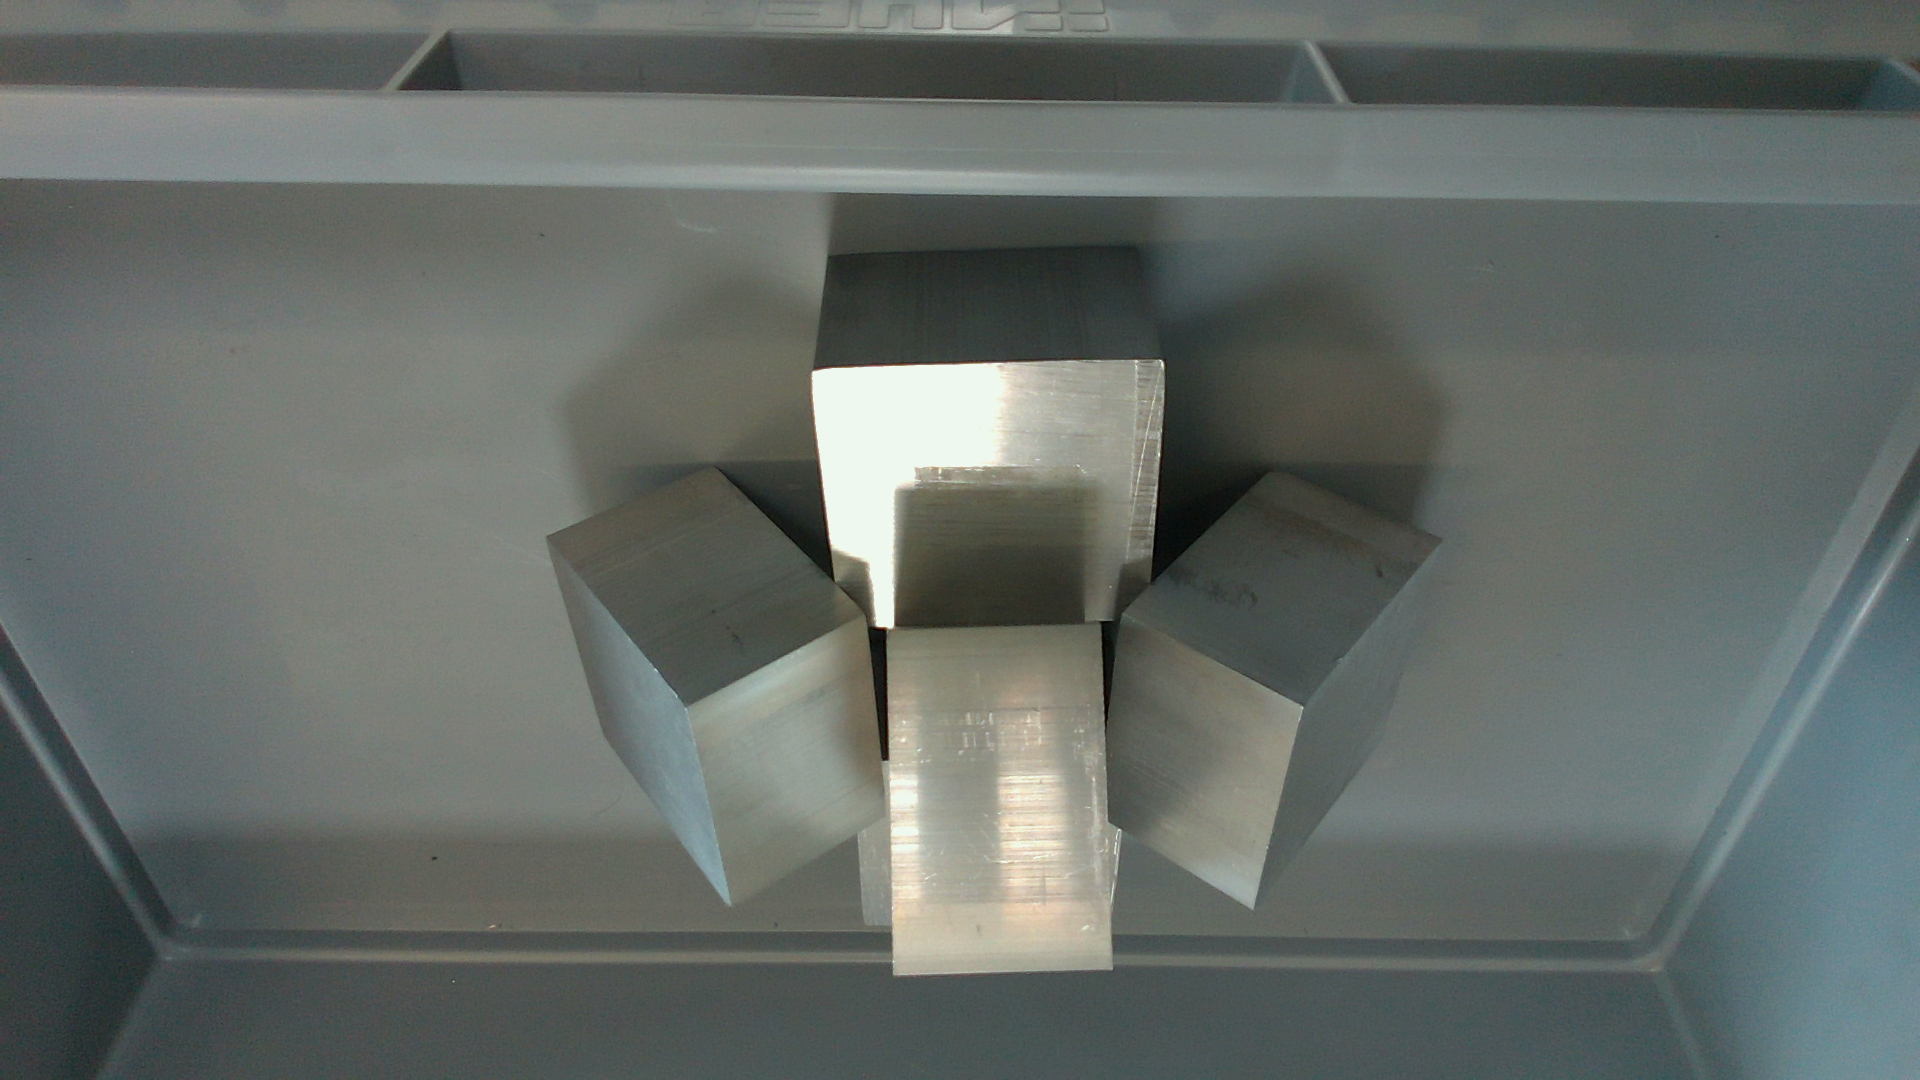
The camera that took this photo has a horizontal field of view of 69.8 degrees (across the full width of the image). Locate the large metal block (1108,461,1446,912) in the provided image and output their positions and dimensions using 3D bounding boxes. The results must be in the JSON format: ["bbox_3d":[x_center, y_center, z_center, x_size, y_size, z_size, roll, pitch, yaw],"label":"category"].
[{"bbox_3d":[0.084,0.039,0.377,0.050,0.080,0.080,28,137,28],"label":"large metal block"}]

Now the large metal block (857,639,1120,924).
[{"bbox_3d":[0.009,0.078,0.439,0.080,0.050,0.080,0,130,-1],"label":"large metal block"}]

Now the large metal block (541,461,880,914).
[{"bbox_3d":[-0.066,0.039,0.376,0.050,0.080,0.080,-27,136,-26],"label":"large metal block"}]

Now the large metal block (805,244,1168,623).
[{"bbox_3d":[0.007,-0.026,0.348,0.080,0.050,0.080,-1,130,1],"label":"large metal block"}]

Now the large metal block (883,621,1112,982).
[{"bbox_3d":[0.008,0.062,0.353,0.050,0.080,0.080,-1,86,0],"label":"large metal block"}]
